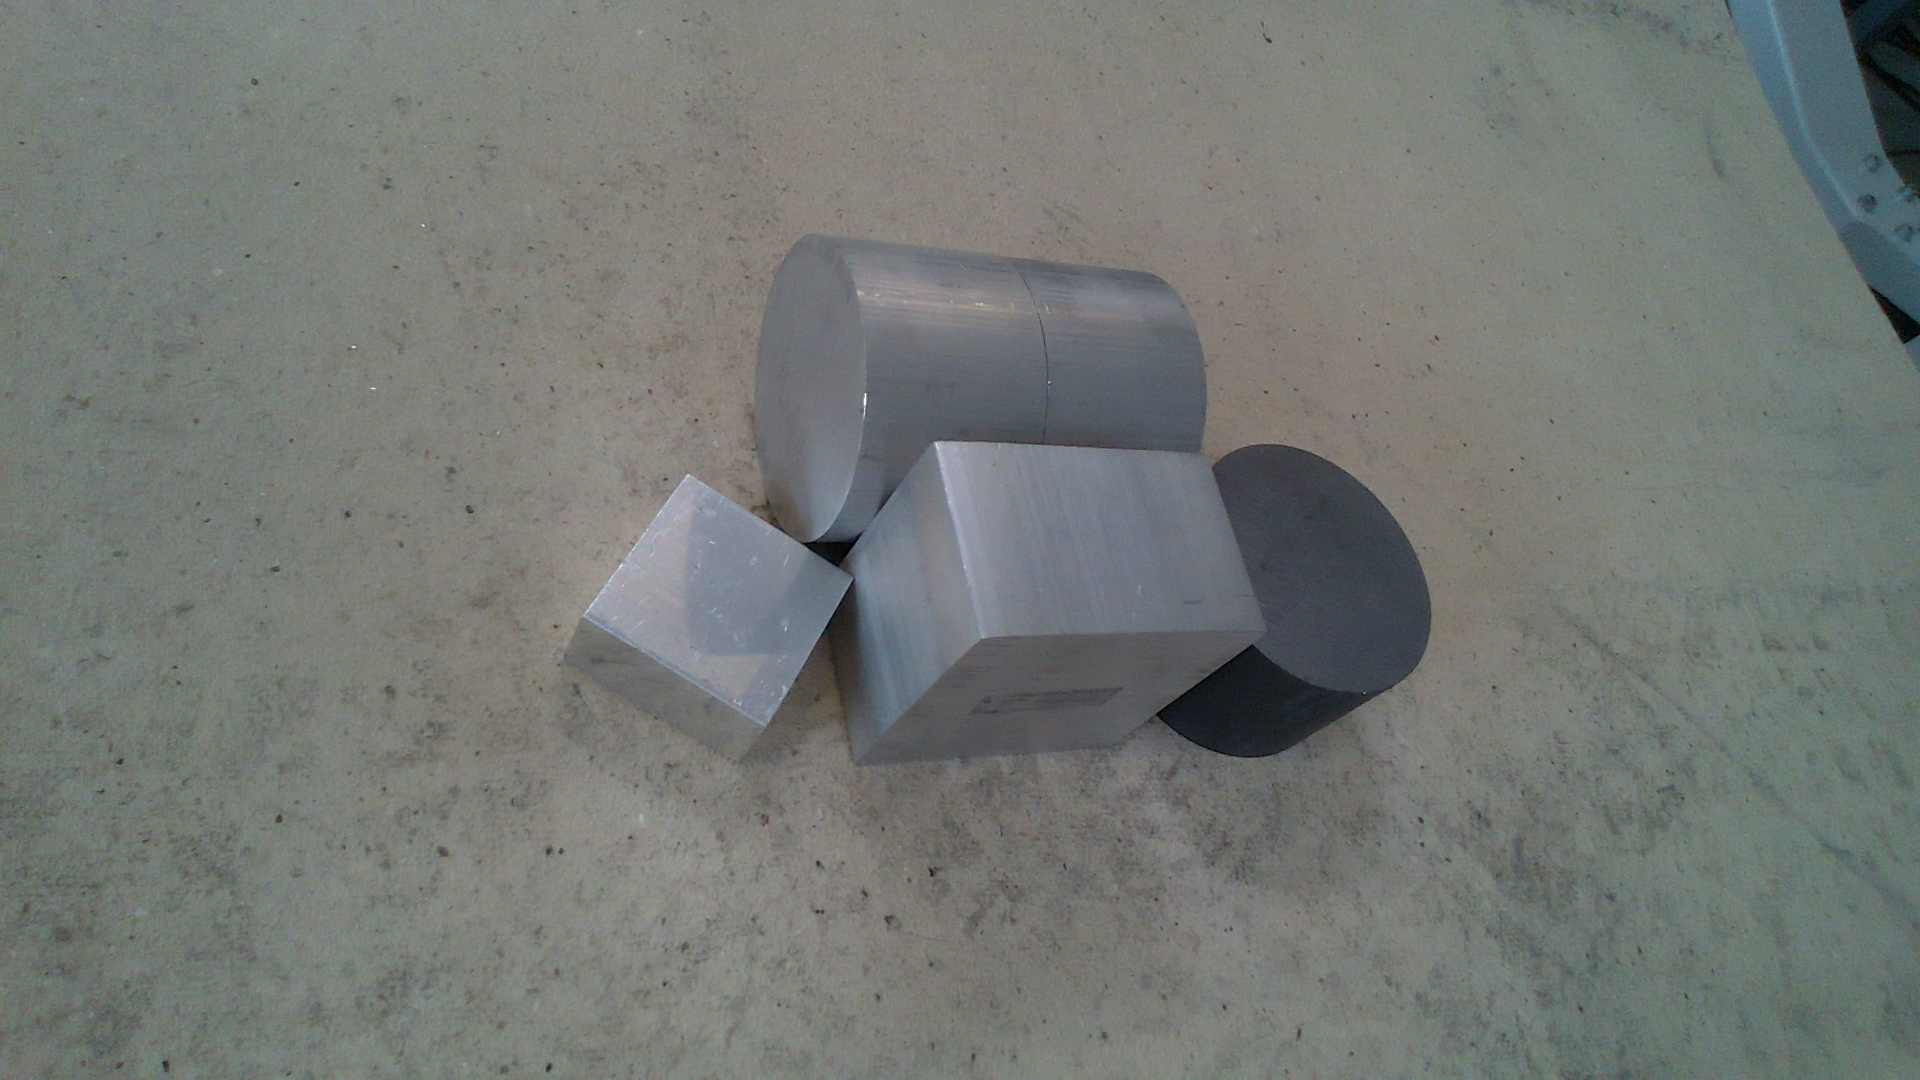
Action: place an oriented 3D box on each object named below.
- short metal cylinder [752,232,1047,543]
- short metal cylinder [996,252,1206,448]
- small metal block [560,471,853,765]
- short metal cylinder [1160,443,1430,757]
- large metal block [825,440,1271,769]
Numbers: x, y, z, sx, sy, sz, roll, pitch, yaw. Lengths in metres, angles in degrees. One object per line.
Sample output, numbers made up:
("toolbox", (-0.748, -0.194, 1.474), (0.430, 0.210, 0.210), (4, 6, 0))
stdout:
("short metal cylinder", (-0.019, -0.039, 0.369), (0.050, 0.080, 0.080), (1, 61, -28))
("short metal cylinder", (0.025, -0.039, 0.393), (0.050, 0.080, 0.080), (1, 61, -28))
("small metal block", (-0.063, 0.019, 0.345), (0.050, 0.025, 0.050), (33, 51, -7))
("short metal cylinder", (0.091, 0.018, 0.411), (0.080, 0.050, 0.080), (14, 56, -21))
("large metal block", (0.018, 0.019, 0.353), (0.080, 0.080, 0.050), (1, 61, -28))
